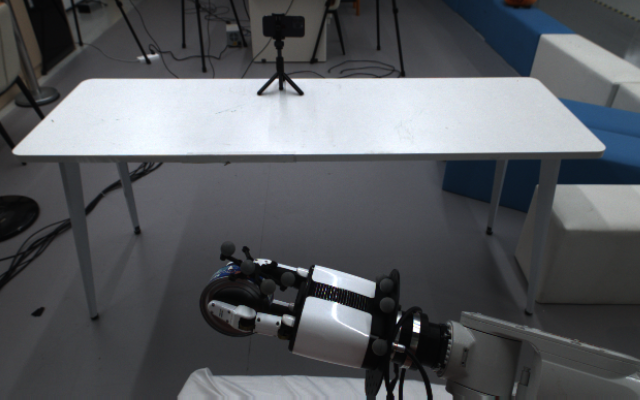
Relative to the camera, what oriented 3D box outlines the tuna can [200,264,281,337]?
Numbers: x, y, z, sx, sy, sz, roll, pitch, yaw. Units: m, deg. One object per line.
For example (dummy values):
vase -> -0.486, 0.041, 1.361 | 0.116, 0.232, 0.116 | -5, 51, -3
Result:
tuna can -> -0.099, 0.124, 0.595 | 0.085, 0.085, 0.034 | 4, 20, 3
